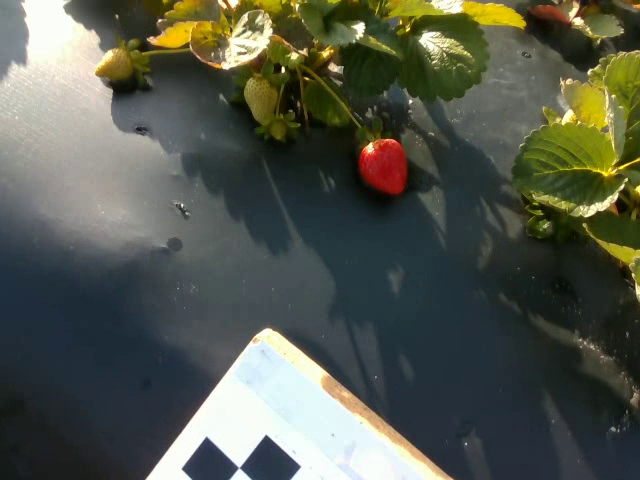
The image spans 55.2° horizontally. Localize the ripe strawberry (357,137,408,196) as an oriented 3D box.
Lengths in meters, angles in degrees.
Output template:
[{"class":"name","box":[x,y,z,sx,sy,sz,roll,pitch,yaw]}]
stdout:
[{"class":"ripe strawberry","box":[0.040,-0.040,0.352,0.030,0.044,0.033,-25,-33,19]}]
